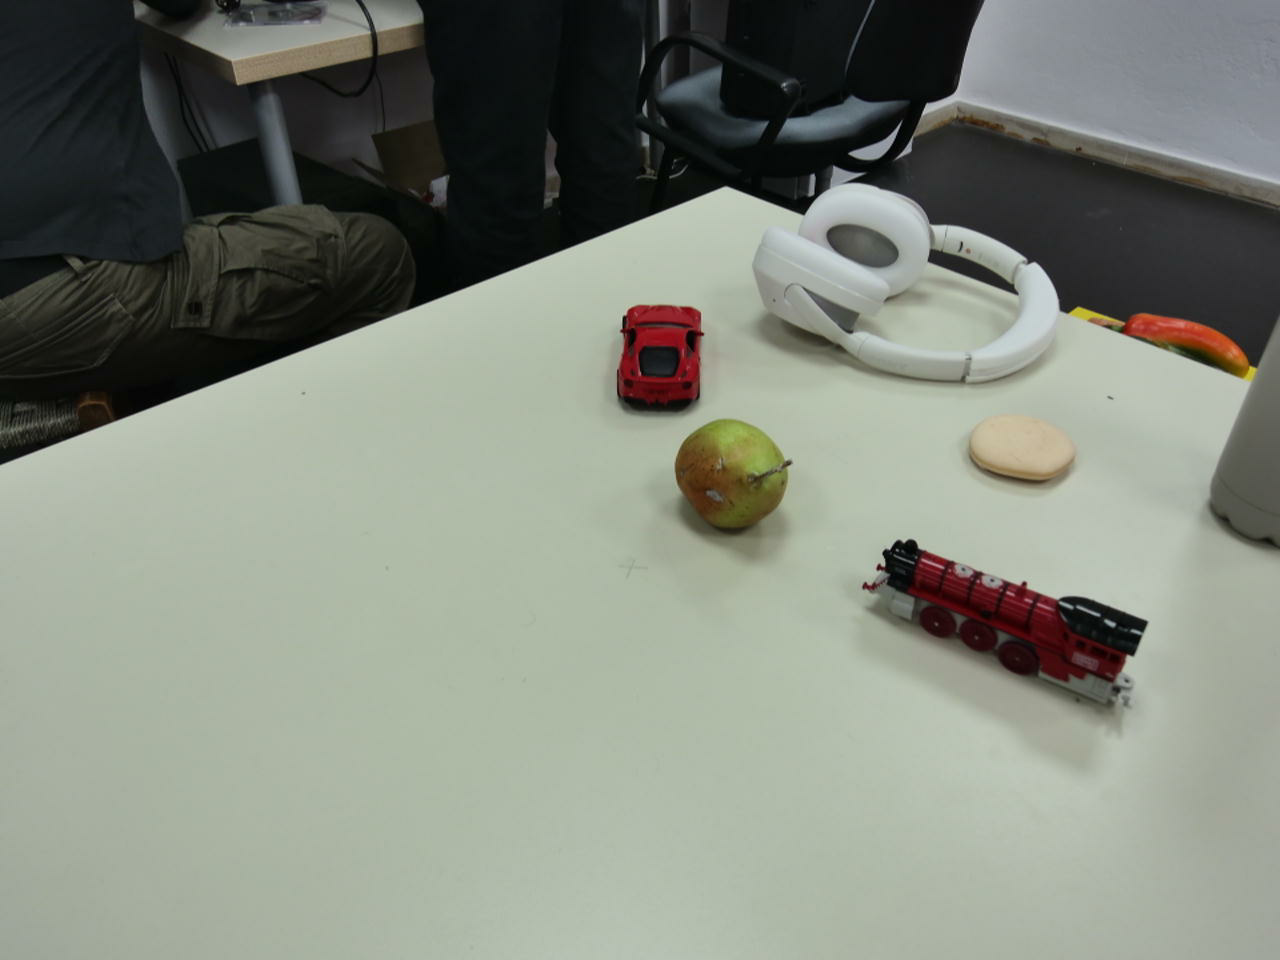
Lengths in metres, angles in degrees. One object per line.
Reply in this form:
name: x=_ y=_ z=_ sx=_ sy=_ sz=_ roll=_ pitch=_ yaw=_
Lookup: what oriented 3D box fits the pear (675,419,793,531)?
pear: x=0.054 y=-0.004 z=0.590 sx=0.068 sy=0.069 sz=0.070 roll=7 pitch=37 yaw=8
